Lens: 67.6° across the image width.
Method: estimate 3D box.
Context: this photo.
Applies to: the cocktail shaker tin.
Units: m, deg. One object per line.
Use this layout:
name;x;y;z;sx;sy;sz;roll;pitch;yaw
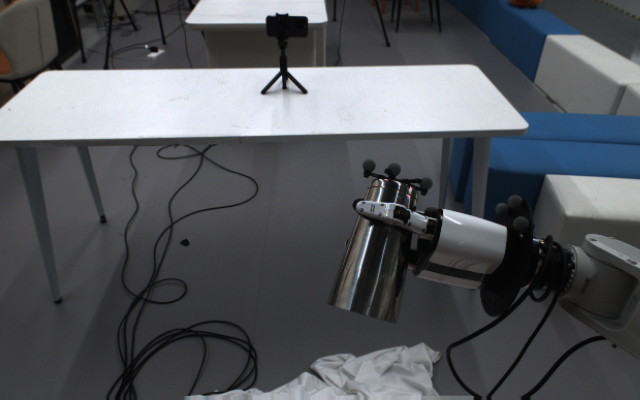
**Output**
cocktail shaker tin;0.079;0.061;0.627;0.093;0.093;0.170;13;79;15
